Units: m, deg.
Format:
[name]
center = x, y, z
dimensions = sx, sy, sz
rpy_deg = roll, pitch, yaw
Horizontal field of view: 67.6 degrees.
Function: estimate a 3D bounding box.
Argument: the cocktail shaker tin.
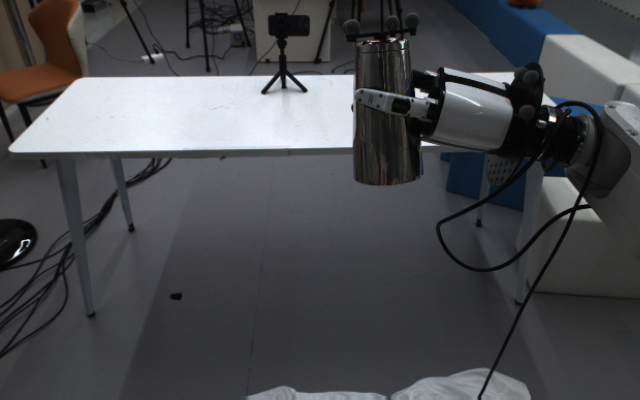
[cocktail shaker tin]
center = 0.083, -0.114, 0.613
dimensions = 0.093, 0.170, 0.093
rpy_deg = -6, 19, 2
